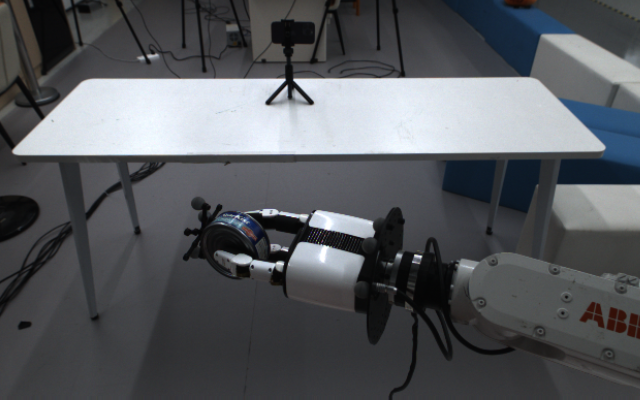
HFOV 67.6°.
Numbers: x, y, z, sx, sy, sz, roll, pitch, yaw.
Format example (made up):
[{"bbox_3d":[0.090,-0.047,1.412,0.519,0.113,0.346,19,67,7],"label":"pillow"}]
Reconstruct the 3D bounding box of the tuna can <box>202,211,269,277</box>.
[{"bbox_3d":[-0.104,0.062,0.615,0.085,0.085,0.034,13,31,16],"label":"tuna can"}]
